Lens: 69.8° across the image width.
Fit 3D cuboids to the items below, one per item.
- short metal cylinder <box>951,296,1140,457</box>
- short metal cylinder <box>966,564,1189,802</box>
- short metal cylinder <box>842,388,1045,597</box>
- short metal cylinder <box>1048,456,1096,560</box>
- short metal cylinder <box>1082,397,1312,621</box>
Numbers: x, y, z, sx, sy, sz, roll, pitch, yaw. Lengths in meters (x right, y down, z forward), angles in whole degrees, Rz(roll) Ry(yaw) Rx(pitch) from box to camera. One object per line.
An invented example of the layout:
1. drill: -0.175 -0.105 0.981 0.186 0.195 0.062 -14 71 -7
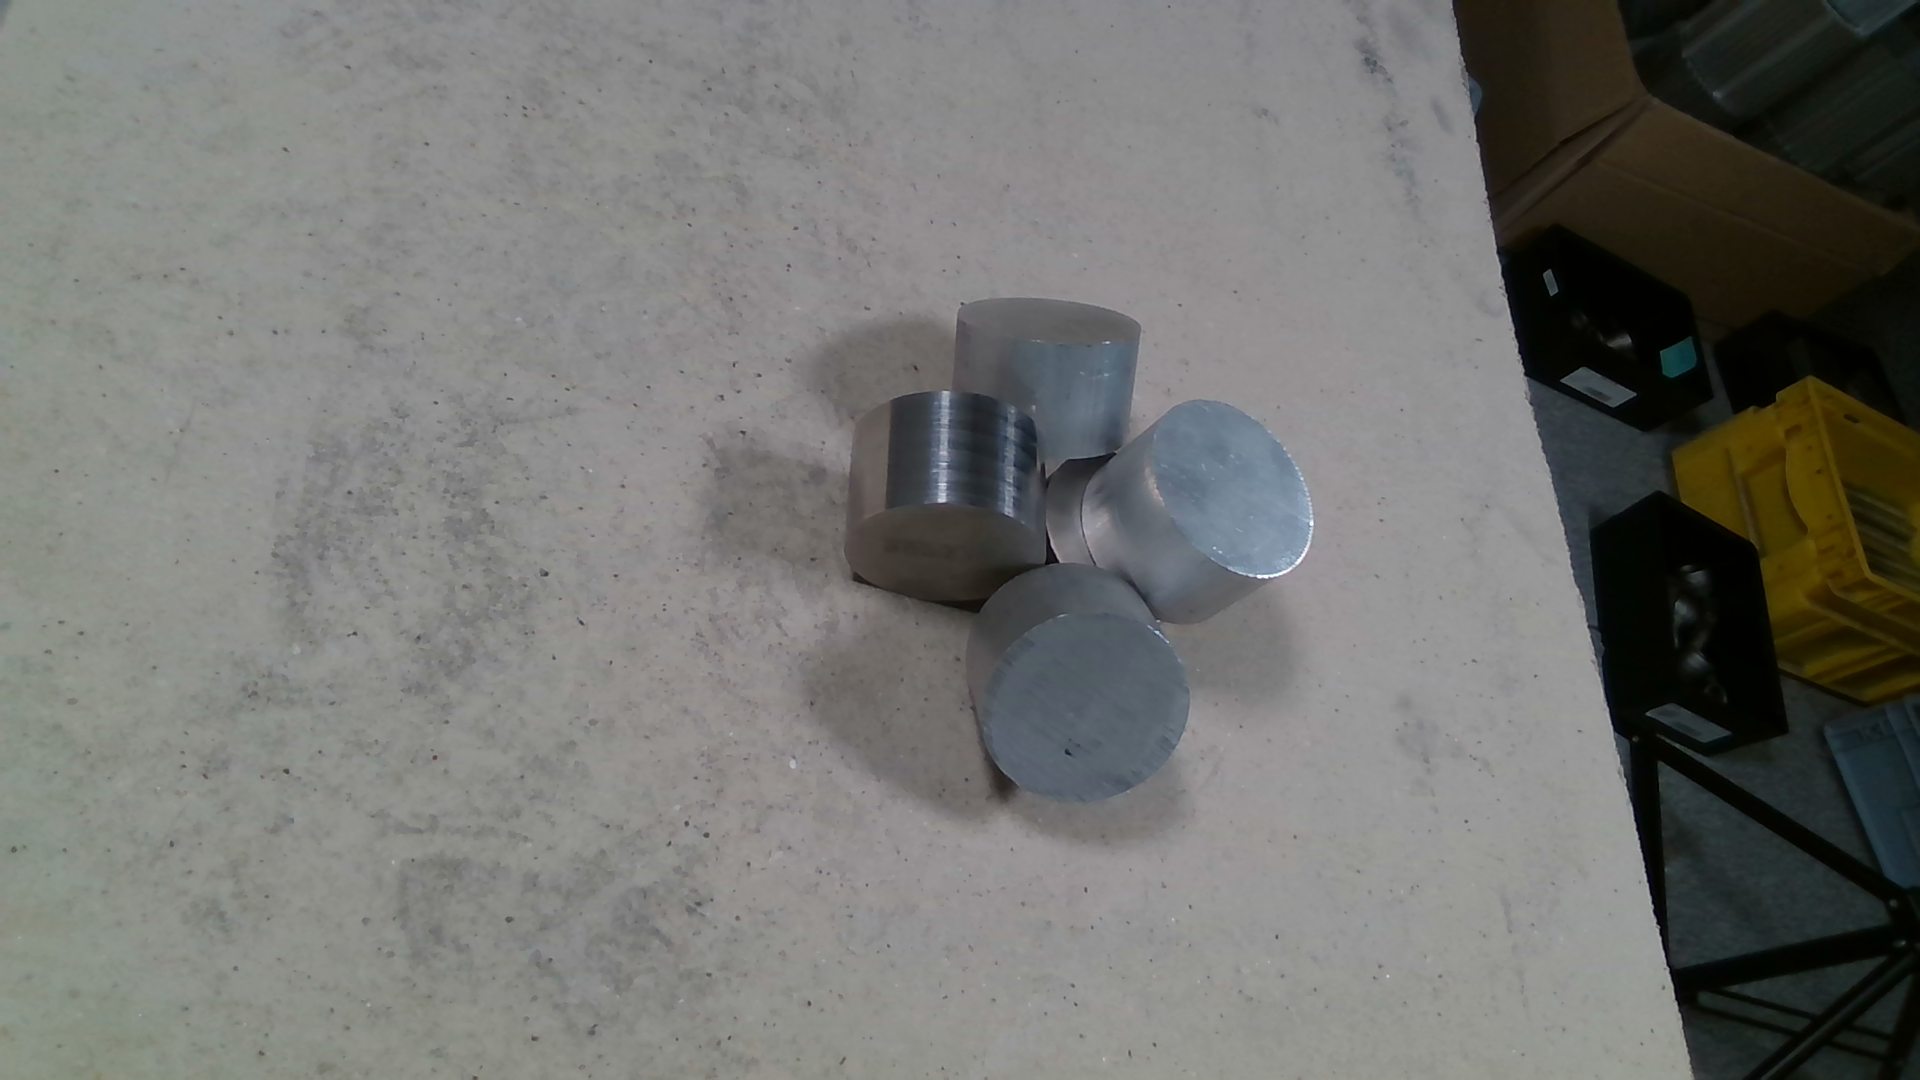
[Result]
1. short metal cylinder: 0.036 -0.074 0.606 0.080 0.050 0.080 4 22 -2
2. short metal cylinder: 0.044 0.055 0.541 0.080 0.080 0.050 28 15 -16
3. short metal cylinder: -0.006 -0.017 0.555 0.080 0.080 0.050 16 58 -24
4. short metal cylinder: 0.058 0.008 0.602 0.080 0.050 0.080 14 59 -25
5. short metal cylinder: 0.098 -0.012 0.571 0.080 0.050 0.080 14 59 -25
